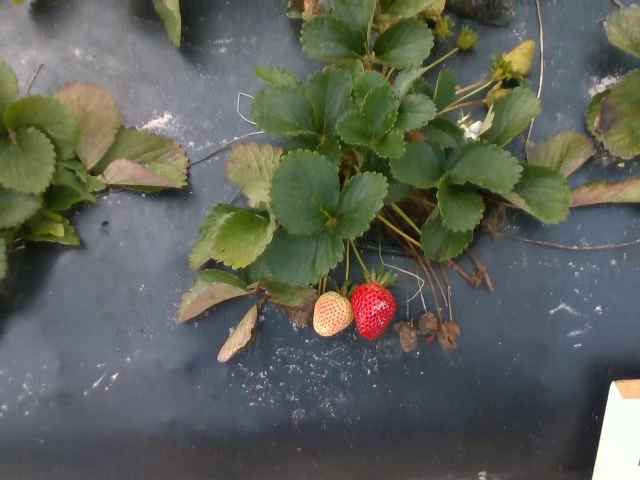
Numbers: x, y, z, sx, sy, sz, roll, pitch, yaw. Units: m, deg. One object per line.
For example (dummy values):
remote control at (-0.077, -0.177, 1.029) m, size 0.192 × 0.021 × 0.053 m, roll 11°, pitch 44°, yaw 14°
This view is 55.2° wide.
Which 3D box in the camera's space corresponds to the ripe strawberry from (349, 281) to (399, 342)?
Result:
ripe strawberry at (0.034, 0.048, 0.402) m, size 0.034 × 0.042 × 0.033 m, roll 26°, pitch -34°, yaw -9°
